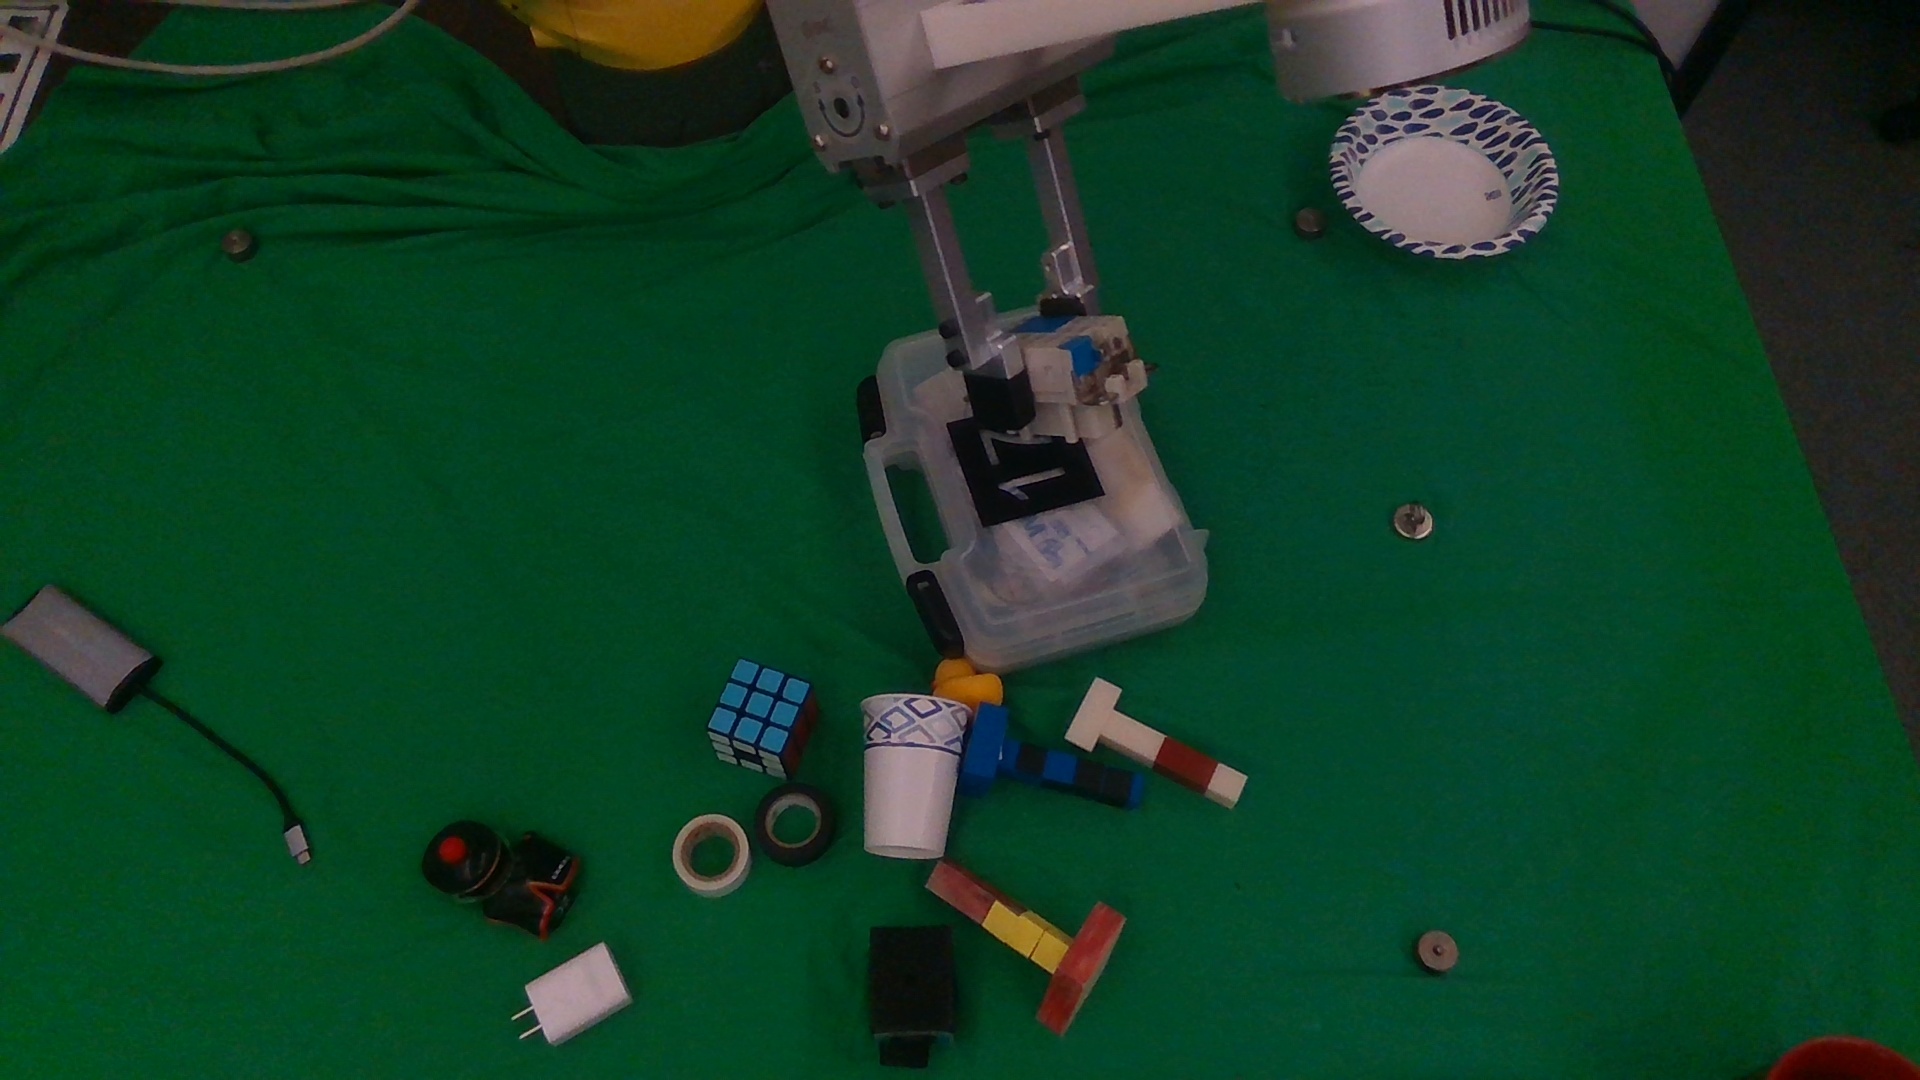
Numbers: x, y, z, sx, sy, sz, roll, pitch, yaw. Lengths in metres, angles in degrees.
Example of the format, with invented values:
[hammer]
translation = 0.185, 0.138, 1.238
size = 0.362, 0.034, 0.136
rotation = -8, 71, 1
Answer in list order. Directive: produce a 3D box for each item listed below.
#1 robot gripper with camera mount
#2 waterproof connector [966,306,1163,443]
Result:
[robot gripper with camera mount]
translation = 0.072, -0.117, 0.401
size = 0.194, 0.158, 0.118
rotation = 1, 34, 39
[waterproof connector]
translation = 0.034, -0.055, 0.466
size = 0.065, 0.037, 0.035
rotation = 11, 39, 46
